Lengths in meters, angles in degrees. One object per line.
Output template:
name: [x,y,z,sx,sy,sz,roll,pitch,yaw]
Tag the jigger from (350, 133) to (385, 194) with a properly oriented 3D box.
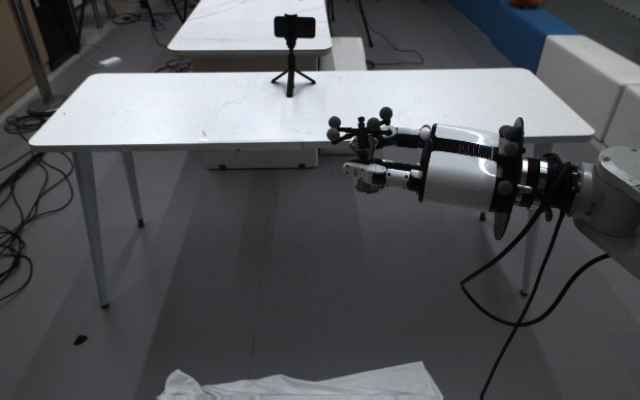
jigger: [0.065,-0.049,0.667,0.043,0.071,0.043,-10,32,6]
